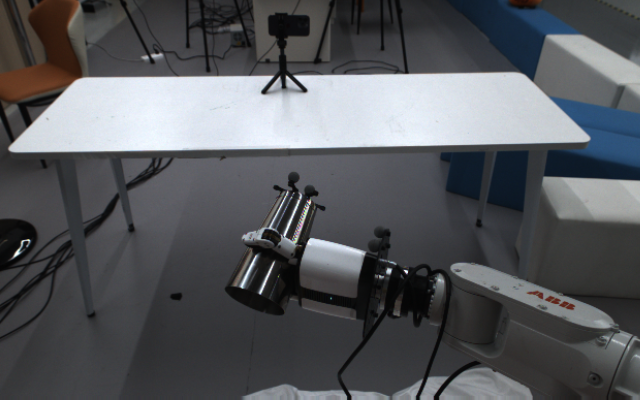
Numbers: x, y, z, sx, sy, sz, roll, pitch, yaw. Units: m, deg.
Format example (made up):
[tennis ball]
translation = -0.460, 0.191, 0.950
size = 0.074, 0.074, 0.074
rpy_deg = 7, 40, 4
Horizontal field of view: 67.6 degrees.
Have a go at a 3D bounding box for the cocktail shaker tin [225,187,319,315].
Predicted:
[cocktail shaker tin]
translation = -0.065, 0.073, 0.716
size = 0.093, 0.093, 0.170
rpy_deg = 14, 62, 17
